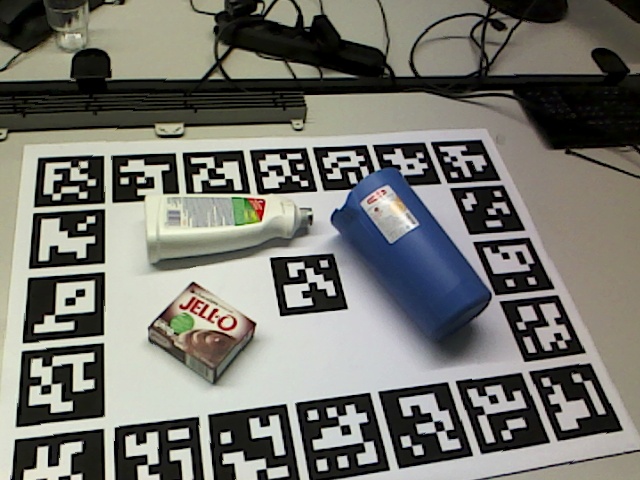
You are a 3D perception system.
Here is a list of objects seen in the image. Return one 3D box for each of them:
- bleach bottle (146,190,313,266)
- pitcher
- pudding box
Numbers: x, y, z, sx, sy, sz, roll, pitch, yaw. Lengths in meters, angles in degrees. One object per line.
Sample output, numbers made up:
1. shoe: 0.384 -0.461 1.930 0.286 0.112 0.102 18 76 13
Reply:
1. bleach bottle: -0.132 -0.025 0.944 0.250 0.068 0.103 -6 59 -16
2. pitcher: 0.143 0.034 0.929 0.187 0.133 0.243 -3 51 -56
3. pudding box: -0.158 0.124 0.838 0.114 0.038 0.090 34 50 13
